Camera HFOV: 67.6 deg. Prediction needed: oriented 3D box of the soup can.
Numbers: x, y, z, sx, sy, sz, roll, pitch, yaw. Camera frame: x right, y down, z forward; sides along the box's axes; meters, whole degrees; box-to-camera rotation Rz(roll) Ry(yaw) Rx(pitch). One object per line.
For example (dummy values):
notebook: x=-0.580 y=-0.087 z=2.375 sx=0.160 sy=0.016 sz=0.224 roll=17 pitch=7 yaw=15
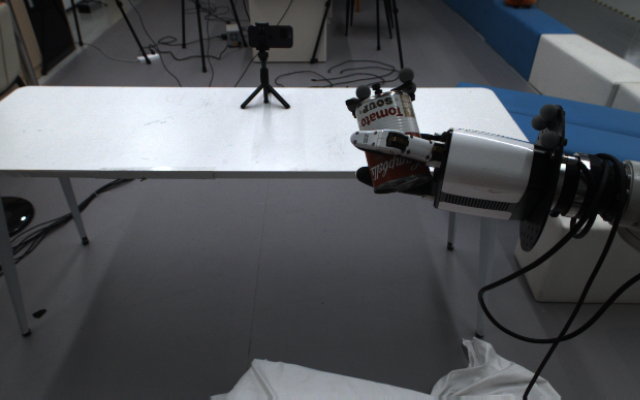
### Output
soup can: x=0.087 y=-0.067 z=0.560 sx=0.067 sy=0.067 sz=0.101 roll=-12 pitch=80 yaw=-19
